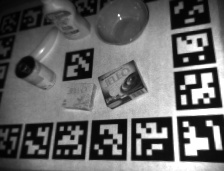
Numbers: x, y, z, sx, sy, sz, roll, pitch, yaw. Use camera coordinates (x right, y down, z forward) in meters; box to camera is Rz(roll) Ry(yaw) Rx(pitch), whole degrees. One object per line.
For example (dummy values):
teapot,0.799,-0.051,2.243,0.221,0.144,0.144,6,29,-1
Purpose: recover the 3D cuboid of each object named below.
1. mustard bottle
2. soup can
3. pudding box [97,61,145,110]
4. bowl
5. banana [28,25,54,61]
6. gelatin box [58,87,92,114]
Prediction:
mustard bottle,-0.155,-0.207,0.621,0.095,0.194,0.058,-5,66,20
soup can,-0.242,-0.038,0.646,0.067,0.103,0.067,-7,67,18
pudding box,0.020,0.002,0.575,0.113,0.039,0.089,-28,69,10
bowl,0.033,-0.178,0.631,0.160,0.056,0.161,-8,67,20
banana,-0.261,-0.126,0.734,0.197,0.039,0.073,-49,51,-1
gelatin box,-0.107,0.042,0.615,0.088,0.030,0.073,2,75,23
